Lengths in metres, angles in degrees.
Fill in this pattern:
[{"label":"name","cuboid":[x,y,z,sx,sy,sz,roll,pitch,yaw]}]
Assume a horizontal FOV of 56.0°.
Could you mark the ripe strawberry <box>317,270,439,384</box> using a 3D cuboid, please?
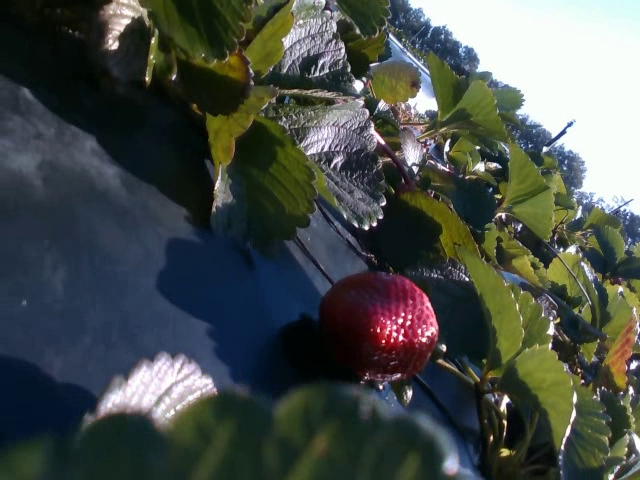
[{"label":"ripe strawberry","cuboid":[0.016,0.028,0.187,0.044,0.042,0.055,2,-8,19]}]
